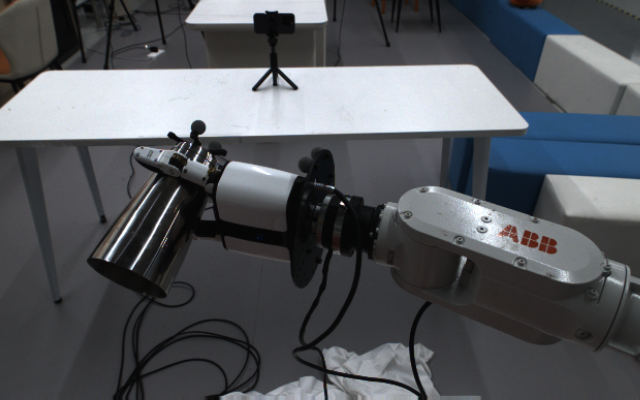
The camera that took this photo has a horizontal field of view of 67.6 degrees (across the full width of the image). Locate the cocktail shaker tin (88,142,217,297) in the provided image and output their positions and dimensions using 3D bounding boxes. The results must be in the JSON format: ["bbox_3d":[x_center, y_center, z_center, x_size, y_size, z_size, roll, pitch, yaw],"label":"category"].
[{"bbox_3d":[-0.181,0.014,0.564,0.093,0.093,0.170,13,59,15],"label":"cocktail shaker tin"}]
